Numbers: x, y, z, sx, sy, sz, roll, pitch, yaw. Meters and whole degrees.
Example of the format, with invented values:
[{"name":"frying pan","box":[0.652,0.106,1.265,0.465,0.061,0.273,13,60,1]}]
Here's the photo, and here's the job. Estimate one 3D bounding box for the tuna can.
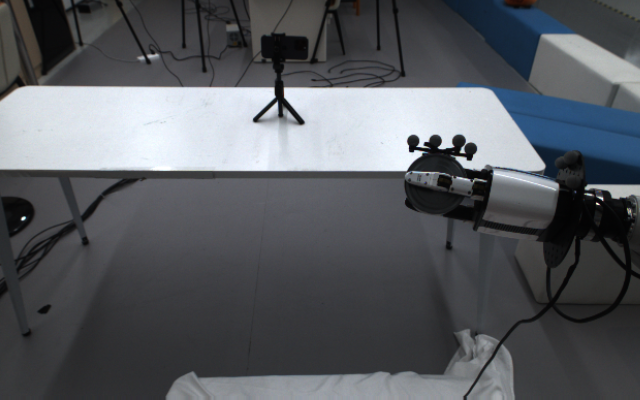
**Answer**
[{"name":"tuna can","box":[0.162,-0.026,0.679,0.085,0.085,0.034,11,-7,12]}]
